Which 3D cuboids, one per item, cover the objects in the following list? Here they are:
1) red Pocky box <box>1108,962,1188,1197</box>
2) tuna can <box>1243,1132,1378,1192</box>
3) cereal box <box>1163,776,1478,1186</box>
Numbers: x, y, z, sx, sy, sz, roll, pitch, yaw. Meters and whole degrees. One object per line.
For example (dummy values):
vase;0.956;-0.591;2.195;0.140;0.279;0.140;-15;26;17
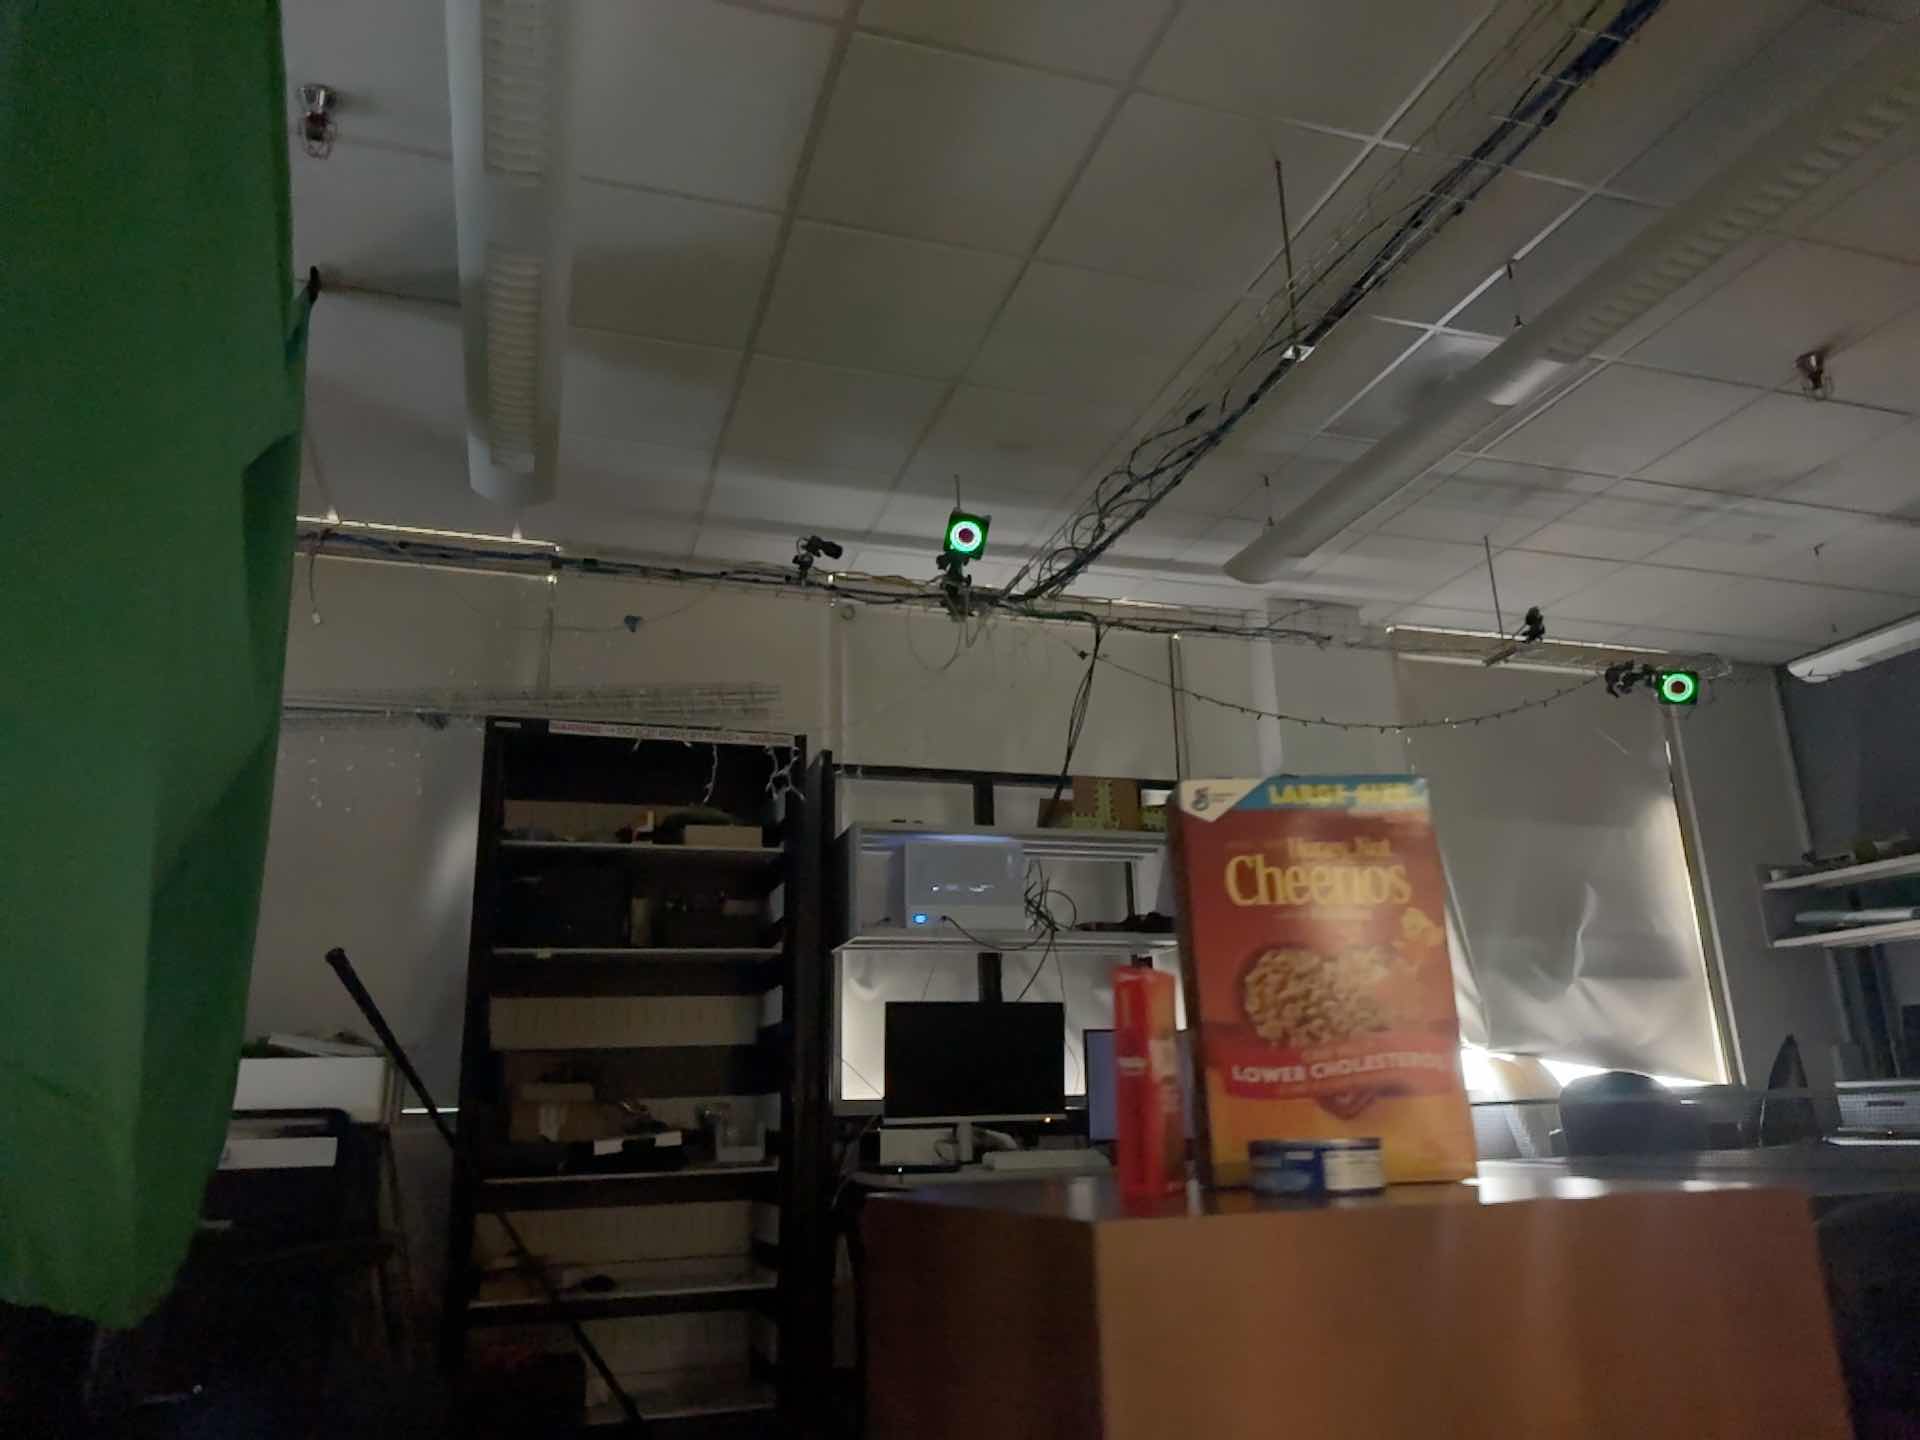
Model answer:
red Pocky box;0.131;0.249;0.938;0.028;0.155;0.083;-8;-17;25
tuna can;0.229;0.289;0.881;0.083;0.034;0.083;-1;-15;0
cereal box;0.273;0.198;1.048;0.195;0.297;0.065;0;-16;-5
